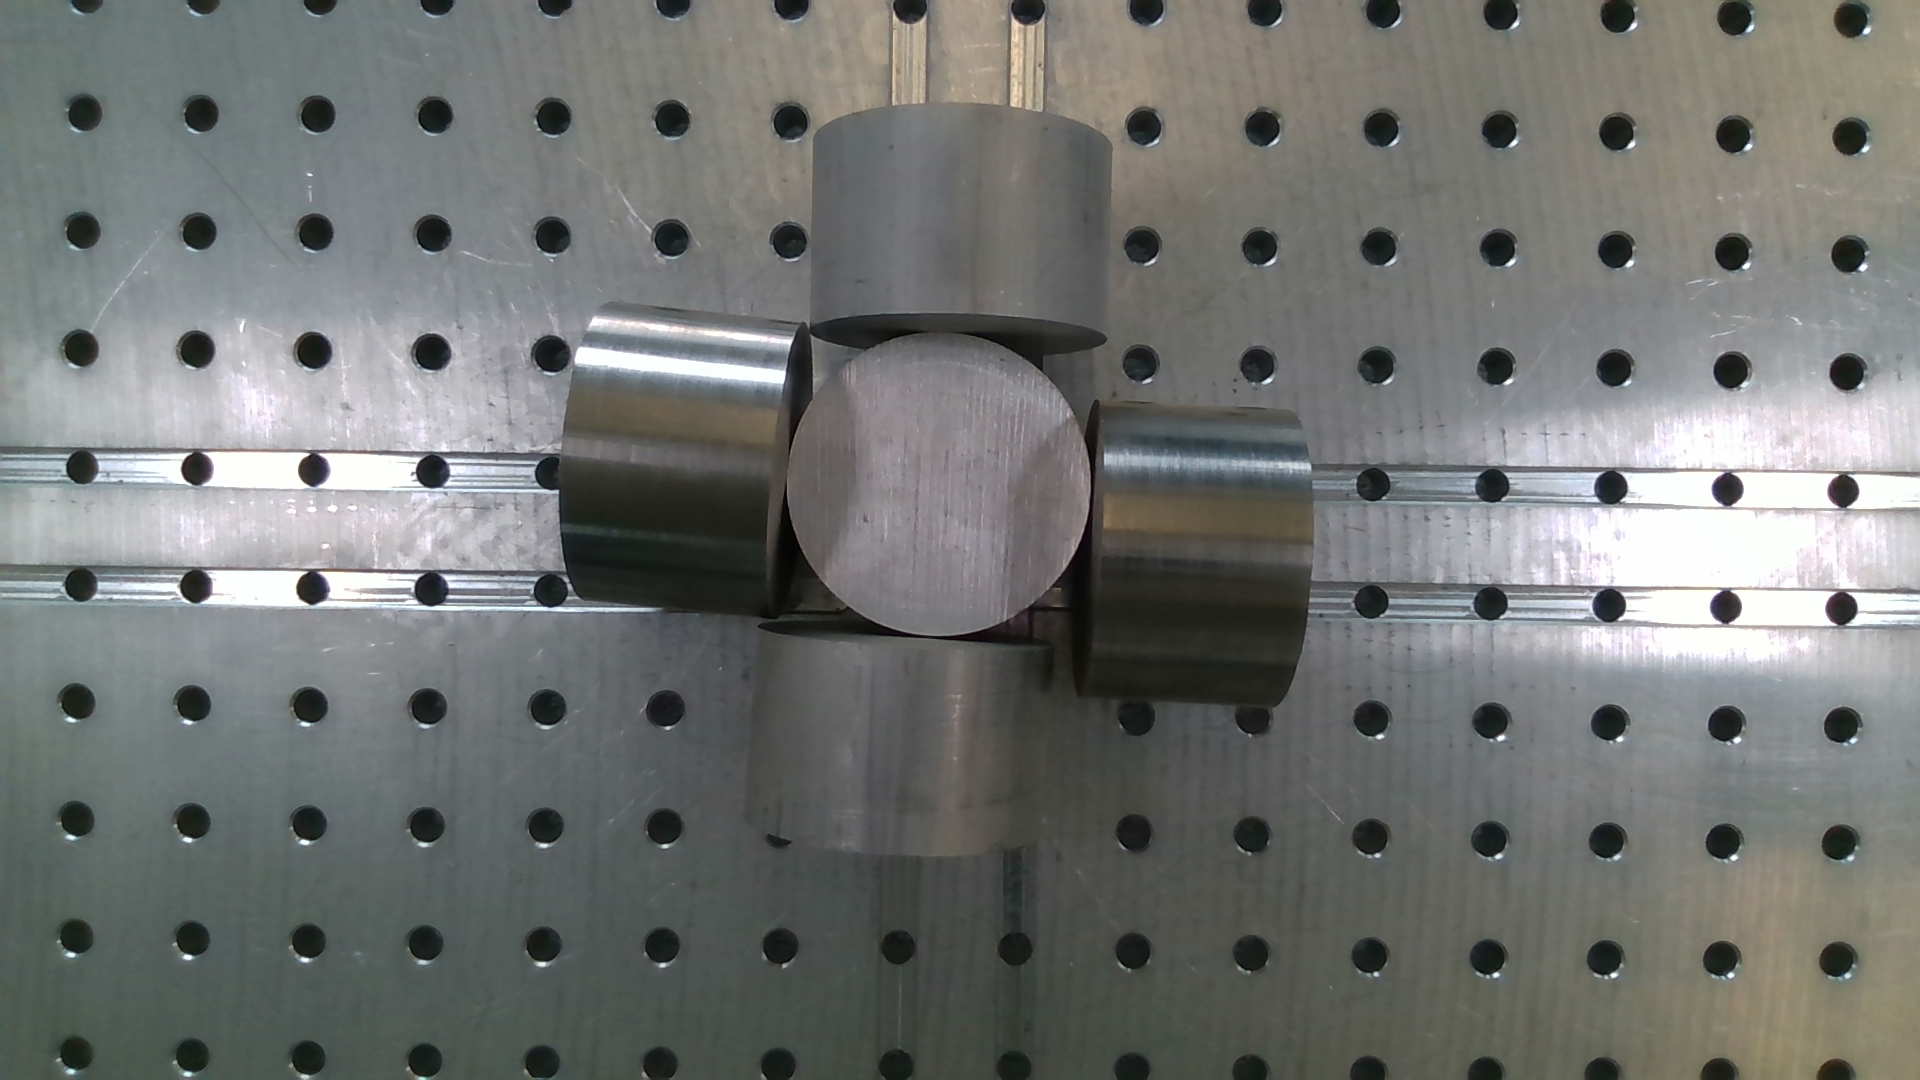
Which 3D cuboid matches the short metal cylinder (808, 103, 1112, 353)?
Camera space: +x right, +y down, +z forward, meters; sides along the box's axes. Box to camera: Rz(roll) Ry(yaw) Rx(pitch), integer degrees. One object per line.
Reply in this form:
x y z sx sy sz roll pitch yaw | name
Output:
0.000 -0.080 0.370 0.080 0.080 0.050 1 91 0 | short metal cylinder

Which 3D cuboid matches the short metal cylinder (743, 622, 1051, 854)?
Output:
-0.017 0.050 0.371 0.080 0.080 0.050 4 90 0 | short metal cylinder

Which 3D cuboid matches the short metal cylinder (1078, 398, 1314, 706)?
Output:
0.059 0.003 0.370 0.050 0.080 0.080 3 90 0 | short metal cylinder

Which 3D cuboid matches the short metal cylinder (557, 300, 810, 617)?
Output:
-0.071 -0.022 0.369 0.050 0.080 0.080 6 90 0 | short metal cylinder

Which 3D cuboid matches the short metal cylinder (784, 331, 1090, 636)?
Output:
-0.006 -0.015 0.385 0.080 0.050 0.080 0 91 0 | short metal cylinder
